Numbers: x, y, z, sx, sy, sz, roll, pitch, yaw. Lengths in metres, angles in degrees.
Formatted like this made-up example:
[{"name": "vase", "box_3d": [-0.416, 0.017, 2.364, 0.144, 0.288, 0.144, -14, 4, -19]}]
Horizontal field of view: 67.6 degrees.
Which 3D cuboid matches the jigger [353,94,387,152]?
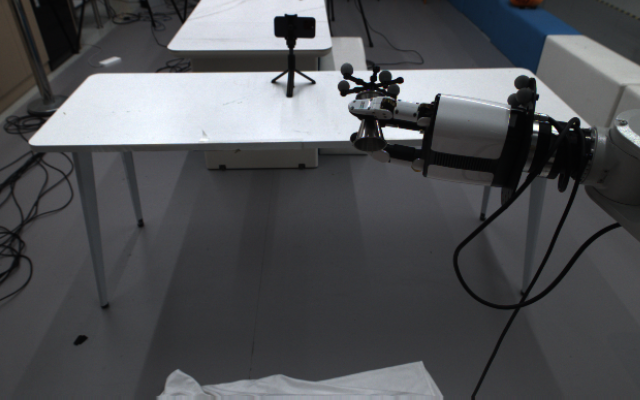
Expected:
[{"name": "jigger", "box_3d": [0.064, -0.104, 0.628, 0.043, 0.043, 0.071, 3, 72, 1]}]
